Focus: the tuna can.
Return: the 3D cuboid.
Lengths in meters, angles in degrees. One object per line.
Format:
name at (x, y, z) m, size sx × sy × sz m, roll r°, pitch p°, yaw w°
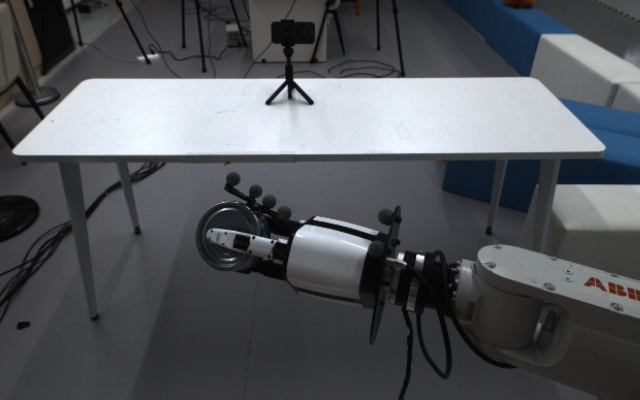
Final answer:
tuna can at (-0.104, 0.044, 0.588) m, size 0.085 × 0.085 × 0.034 m, roll 13°, pitch -4°, yaw 15°
